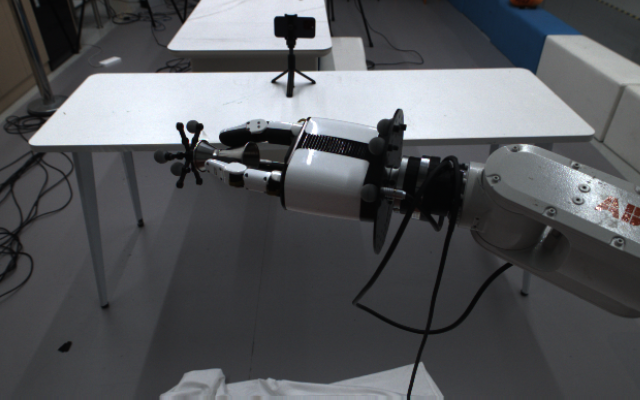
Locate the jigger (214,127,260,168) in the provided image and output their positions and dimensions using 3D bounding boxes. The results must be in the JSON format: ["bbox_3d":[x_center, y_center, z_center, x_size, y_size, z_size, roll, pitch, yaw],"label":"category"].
[{"bbox_3d":[-0.107,-0.057,0.581,0.071,0.043,0.043,5,34,19],"label":"jigger"}]
